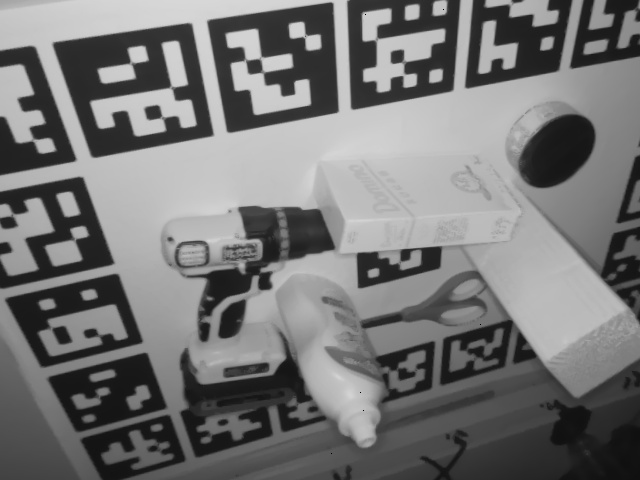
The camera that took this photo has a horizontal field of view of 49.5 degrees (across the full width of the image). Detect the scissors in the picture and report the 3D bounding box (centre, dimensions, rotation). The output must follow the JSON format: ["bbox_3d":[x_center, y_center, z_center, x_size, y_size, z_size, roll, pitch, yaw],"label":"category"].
[{"bbox_3d":[0.150,0.098,0.803,0.204,0.016,0.087,-10,129,-12],"label":"scissors"}]

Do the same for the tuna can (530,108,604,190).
[{"bbox_3d":[0.257,-0.088,0.700,0.086,0.034,0.085,-9,124,-12],"label":"tuna can"}]

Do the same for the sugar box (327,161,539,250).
[{"bbox_3d":[0.103,-0.035,0.653,0.178,0.093,0.045,-1,127,-16],"label":"sugar box"}]

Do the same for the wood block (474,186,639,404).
[{"bbox_3d":[0.242,0.048,0.695,0.090,0.206,0.090,-35,126,7],"label":"wood block"}]

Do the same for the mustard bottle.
[{"bbox_3d":[0.031,0.119,0.678,0.058,0.191,0.097,-45,124,14],"label":"mustard bottle"}]

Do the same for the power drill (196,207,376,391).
[{"bbox_3d":[-0.033,0.055,0.686,0.186,0.057,0.185,-1,116,-19],"label":"power drill"}]
